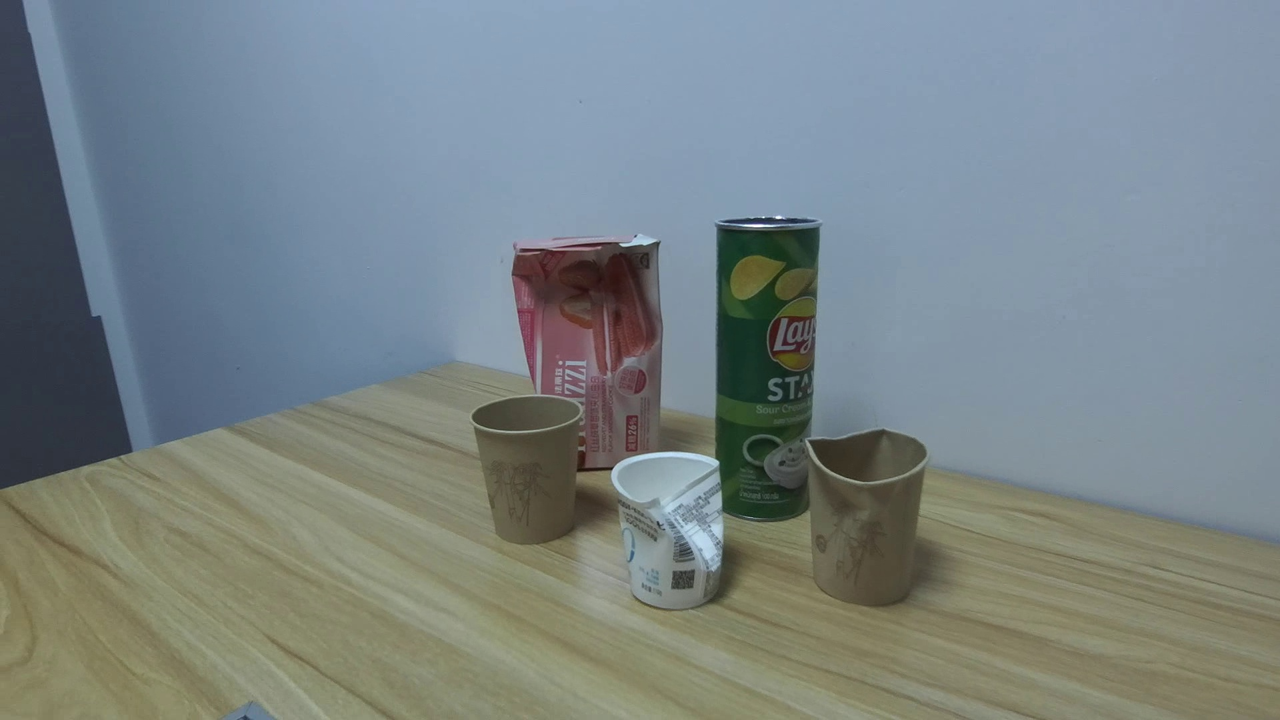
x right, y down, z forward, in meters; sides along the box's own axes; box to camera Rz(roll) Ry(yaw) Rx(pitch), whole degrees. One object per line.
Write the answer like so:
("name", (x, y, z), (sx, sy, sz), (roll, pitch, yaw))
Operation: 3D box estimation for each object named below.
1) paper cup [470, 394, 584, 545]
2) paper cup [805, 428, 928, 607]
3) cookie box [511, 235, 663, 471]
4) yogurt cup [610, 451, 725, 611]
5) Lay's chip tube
("paper cup", (-0.073, 0.074, 0.475), (0.075, 0.082, 0.075), (-1, 15, 1))
("paper cup", (0.131, 0.090, 0.401), (0.072, 0.084, 0.066), (-6, 15, -19))
("cookie box", (-0.040, -0.004, 0.564), (0.118, 0.184, 0.055), (-2, 15, 2))
("yogurt cup", (0.017, 0.097, 0.405), (0.067, 0.070, 0.067), (-3, 17, 1))
("Lay's chip tube", (0.086, 0.005, 0.486), (0.071, 0.202, 0.071), (-1, 16, 1))
